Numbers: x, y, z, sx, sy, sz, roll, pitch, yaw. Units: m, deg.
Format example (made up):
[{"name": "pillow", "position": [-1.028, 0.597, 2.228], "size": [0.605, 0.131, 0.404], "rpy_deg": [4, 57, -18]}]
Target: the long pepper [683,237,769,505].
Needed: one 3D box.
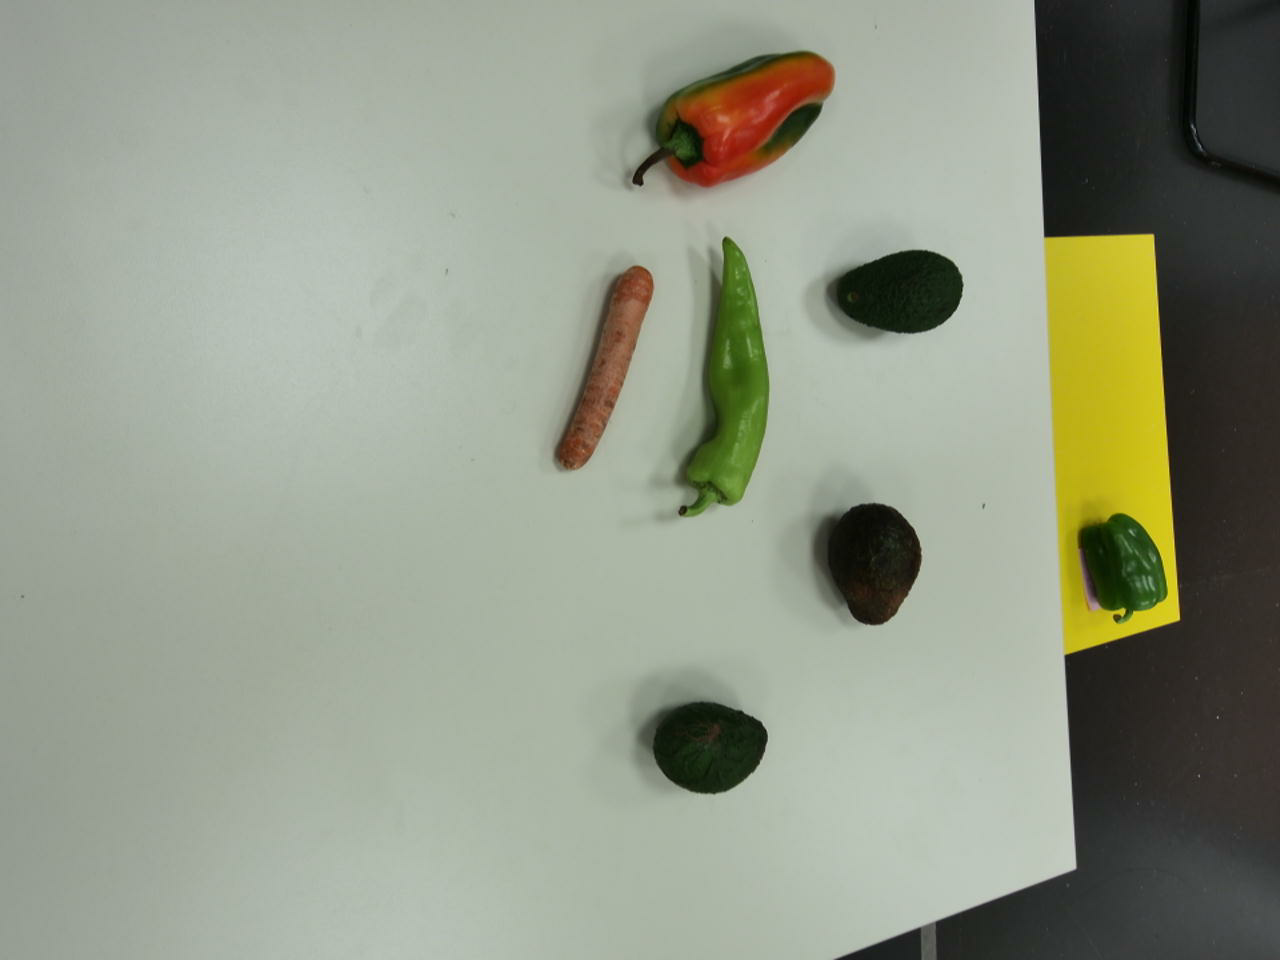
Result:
[{"name": "long pepper", "position": [0.072, -0.073, 0.745], "size": [0.065, 0.045, 0.204], "rpy_deg": [12, 84, -27]}]
